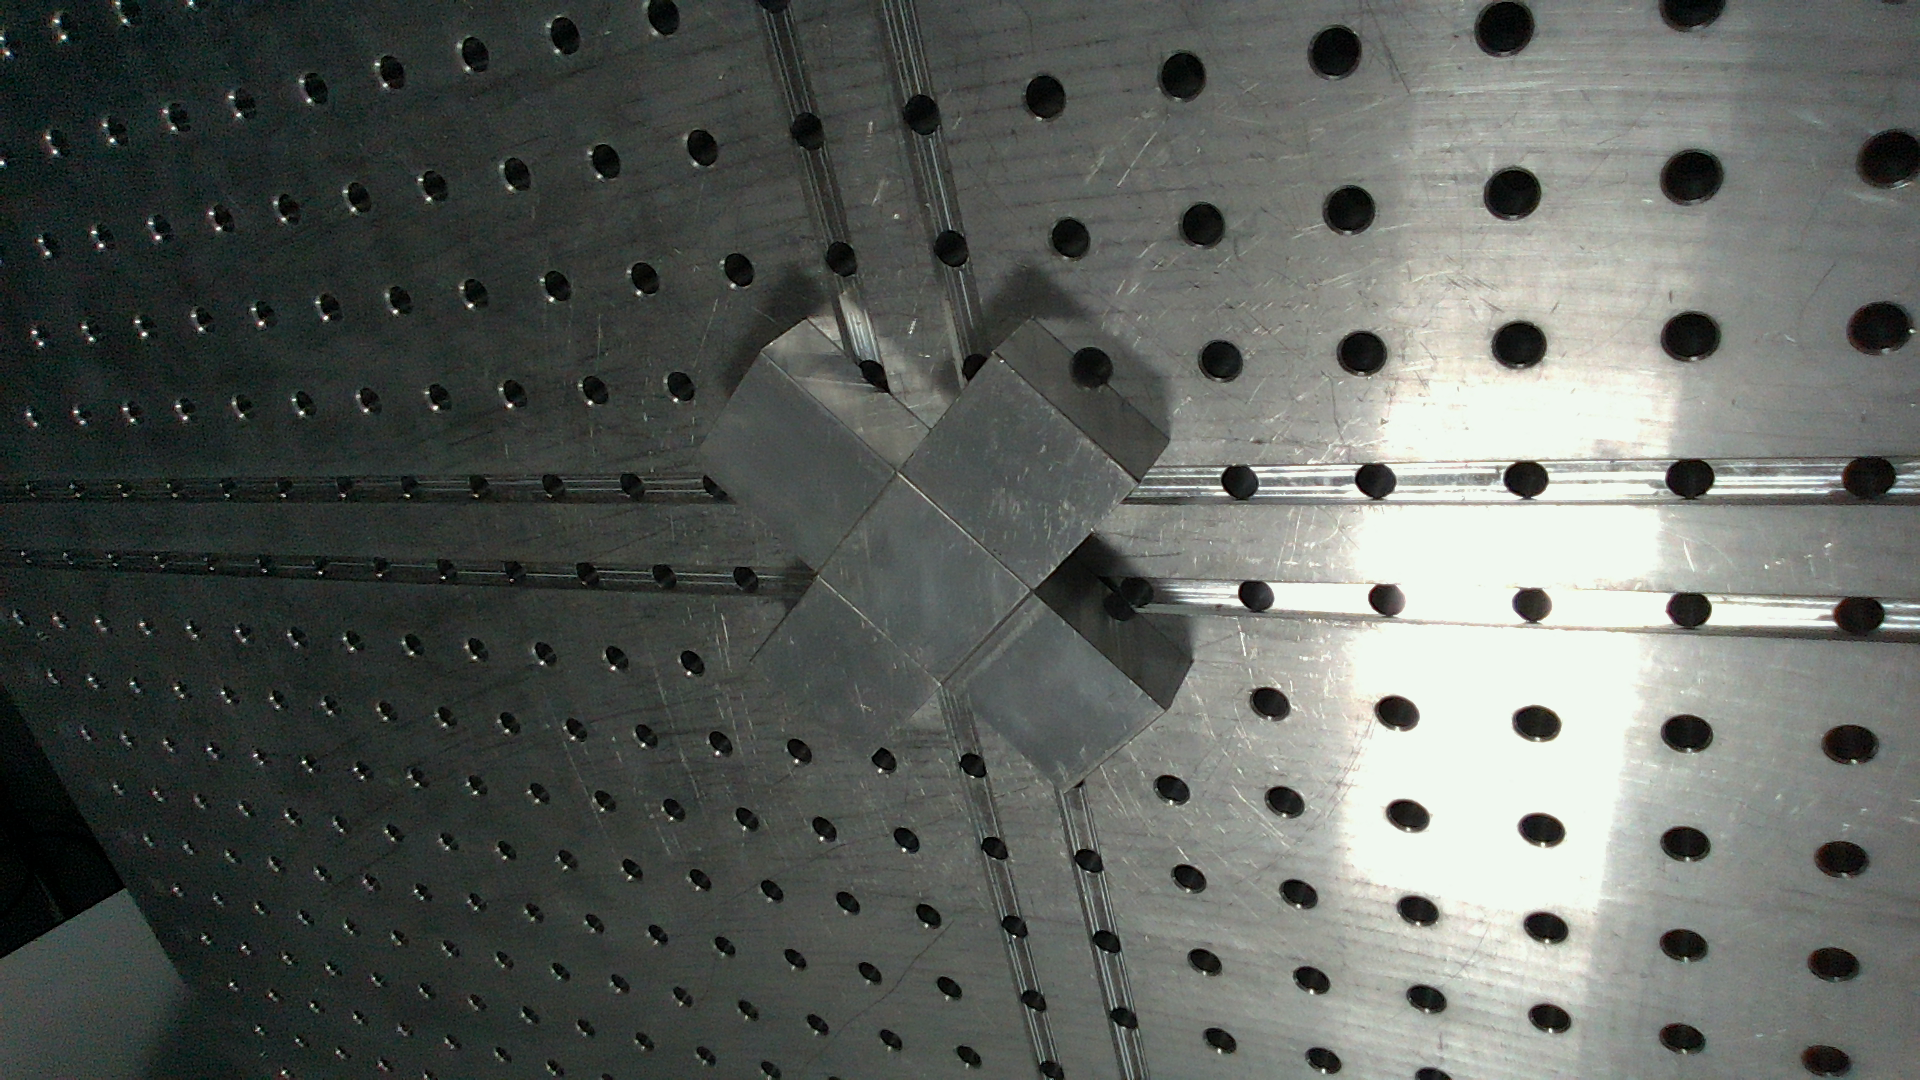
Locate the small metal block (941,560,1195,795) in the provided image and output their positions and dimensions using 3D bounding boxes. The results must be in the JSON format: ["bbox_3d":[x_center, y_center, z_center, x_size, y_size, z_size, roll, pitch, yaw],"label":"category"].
[{"bbox_3d":[0.031,0.039,0.403,0.050,0.025,0.050,42,129,0],"label":"small metal block"}]

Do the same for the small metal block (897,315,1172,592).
[{"bbox_3d":[0.019,-0.023,0.371,0.050,0.025,0.050,41,129,0],"label":"small metal block"}]

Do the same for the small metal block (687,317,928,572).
[{"bbox_3d":[-0.044,-0.027,0.403,0.050,0.025,0.050,42,129,0],"label":"small metal block"}]

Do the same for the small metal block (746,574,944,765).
[{"bbox_3d":[-0.032,0.035,0.435,0.050,0.025,0.050,41,129,0],"label":"small metal block"}]

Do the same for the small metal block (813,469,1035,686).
[{"bbox_3d":[-0.007,0.006,0.402,0.050,0.025,0.050,41,129,0],"label":"small metal block"}]
